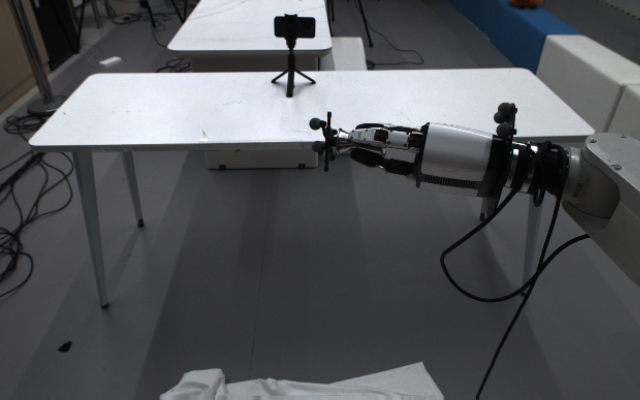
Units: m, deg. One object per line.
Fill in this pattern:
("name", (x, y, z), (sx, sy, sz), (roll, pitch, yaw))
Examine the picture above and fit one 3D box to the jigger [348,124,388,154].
("jigger", (0.068, -0.089, 0.708), (0.071, 0.043, 0.043), (2, 34, 15))
